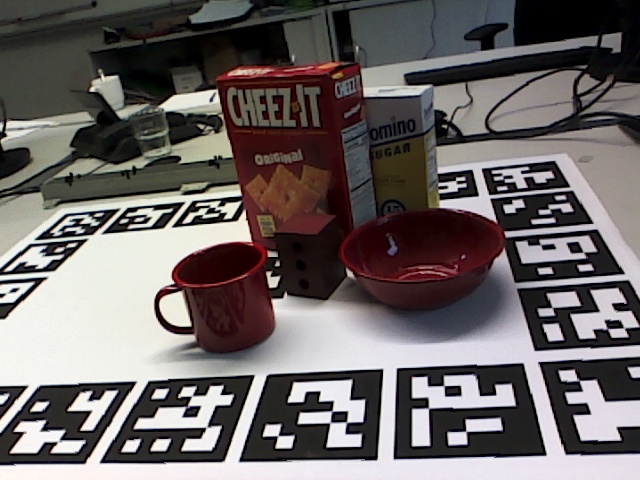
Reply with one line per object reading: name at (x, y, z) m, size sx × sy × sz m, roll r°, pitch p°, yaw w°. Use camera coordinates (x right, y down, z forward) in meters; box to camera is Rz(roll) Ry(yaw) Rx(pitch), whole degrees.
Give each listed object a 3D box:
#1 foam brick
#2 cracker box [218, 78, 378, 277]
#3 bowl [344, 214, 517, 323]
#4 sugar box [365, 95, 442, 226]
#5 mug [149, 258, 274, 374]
foam brick at (-0.009, 0.033, 0.653) m, size 0.053 × 0.078 × 0.051 m, roll 1°, pitch 26°, yaw 25°
cracker box at (-0.024, -0.074, 0.716) m, size 0.165 × 0.213 × 0.072 m, roll 10°, pitch 29°, yaw 36°
bowl at (0.107, 0.032, 0.601) m, size 0.162 × 0.055 × 0.162 m, roll -9°, pitch 26°, yaw 4°
sugar box at (0.089, -0.074, 0.715) m, size 0.093 × 0.176 × 0.045 m, roll 4°, pitch 28°, yaw 30°
mug at (-0.101, 0.073, 0.581) m, size 0.117 × 0.081 × 0.093 m, roll -11°, pitch 17°, yaw 3°
